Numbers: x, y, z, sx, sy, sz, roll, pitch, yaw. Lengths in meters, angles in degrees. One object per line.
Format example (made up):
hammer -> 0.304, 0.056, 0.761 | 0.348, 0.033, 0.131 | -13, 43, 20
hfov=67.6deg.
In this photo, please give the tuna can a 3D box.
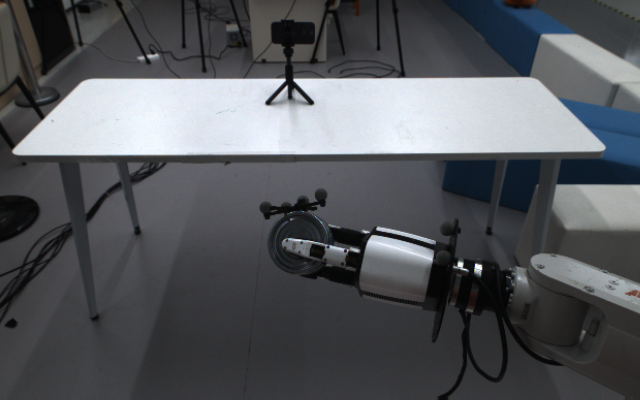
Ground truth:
tuna can -> -0.022, 0.063, 0.647 | 0.085, 0.085, 0.034 | 12, -6, 14
